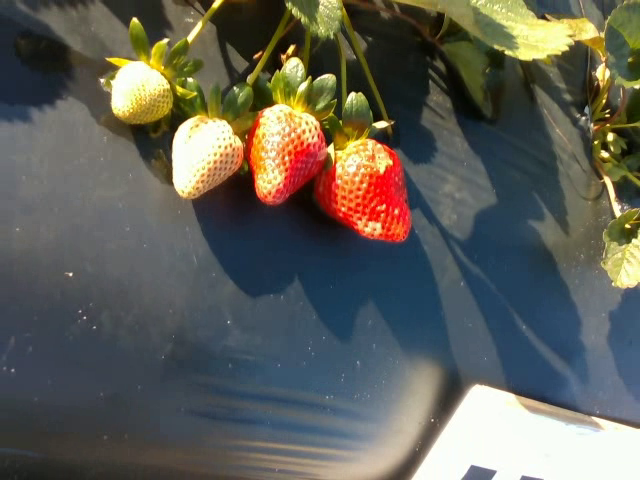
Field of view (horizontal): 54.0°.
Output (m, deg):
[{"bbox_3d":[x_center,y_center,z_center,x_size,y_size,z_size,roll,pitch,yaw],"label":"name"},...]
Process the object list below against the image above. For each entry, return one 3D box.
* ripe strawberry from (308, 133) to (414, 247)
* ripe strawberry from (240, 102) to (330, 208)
[{"bbox_3d":[0.028,-0.022,0.317,0.056,0.067,0.052,-28,-19,-10],"label":"ripe strawberry"},{"bbox_3d":[-0.017,-0.039,0.292,0.044,0.061,0.051,-9,-43,33],"label":"ripe strawberry"}]
